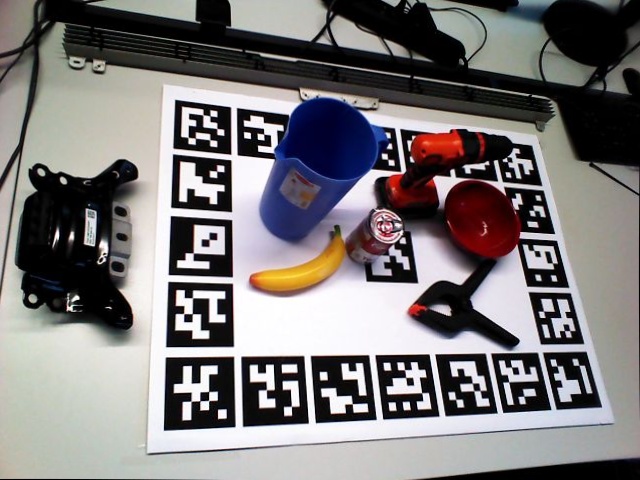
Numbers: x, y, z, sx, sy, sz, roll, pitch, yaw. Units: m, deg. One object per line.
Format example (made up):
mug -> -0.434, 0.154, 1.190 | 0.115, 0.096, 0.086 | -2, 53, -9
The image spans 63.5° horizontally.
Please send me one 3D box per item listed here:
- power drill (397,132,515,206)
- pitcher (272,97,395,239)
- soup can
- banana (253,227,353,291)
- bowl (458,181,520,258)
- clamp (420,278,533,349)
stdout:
power drill -> 0.231, -0.121, 0.884 | 0.184, 0.188, 0.057 | -2, 70, -21
pitcher -> 0.011, -0.101, 0.789 | 0.188, 0.244, 0.133 | -23, 75, -26
soup can -> 0.108, -0.012, 0.869 | 0.068, 0.103, 0.067 | 9, 58, -14
banana -> -0.015, 0.041, 0.841 | 0.196, 0.039, 0.074 | -24, 70, -27
bowl -> 0.313, -0.033, 0.973 | 0.161, 0.055, 0.161 | 6, 68, -16
clamp -> 0.269, 0.113, 0.901 | 0.202, 0.037, 0.165 | 0, 73, -19
